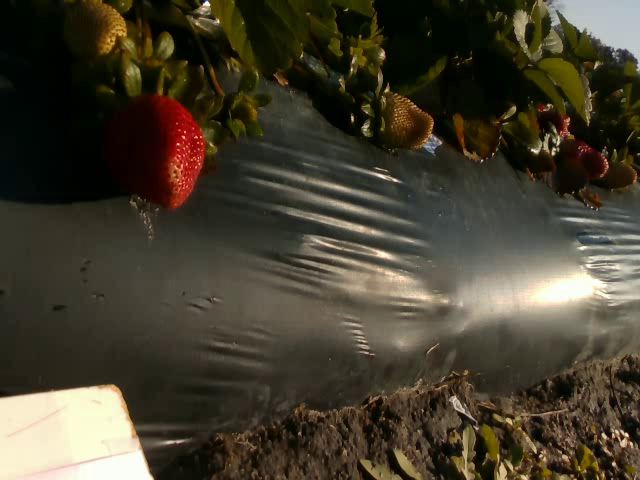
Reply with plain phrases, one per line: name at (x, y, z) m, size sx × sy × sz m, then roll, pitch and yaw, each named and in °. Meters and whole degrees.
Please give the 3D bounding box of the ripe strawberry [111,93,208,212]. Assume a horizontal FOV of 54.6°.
ripe strawberry at (-0.062, -0.035, 0.245) m, size 0.042 × 0.042 × 0.059 m, roll 30°, pitch 23°, yaw -35°
